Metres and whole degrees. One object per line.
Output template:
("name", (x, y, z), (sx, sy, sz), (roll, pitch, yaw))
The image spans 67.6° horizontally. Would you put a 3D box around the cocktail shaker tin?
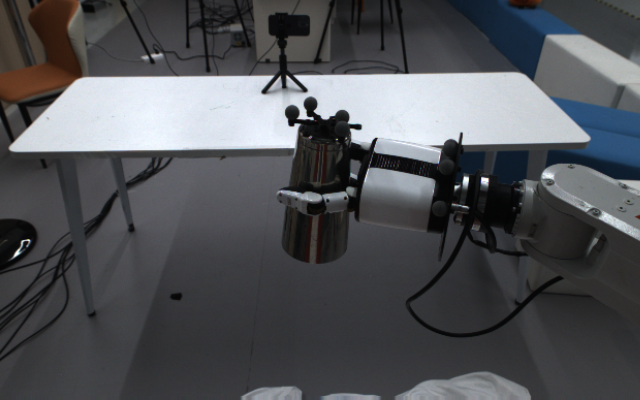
("cocktail shaker tin", (0.000, -0.013, 0.628), (0.093, 0.170, 0.093), (4, 32, -2))
